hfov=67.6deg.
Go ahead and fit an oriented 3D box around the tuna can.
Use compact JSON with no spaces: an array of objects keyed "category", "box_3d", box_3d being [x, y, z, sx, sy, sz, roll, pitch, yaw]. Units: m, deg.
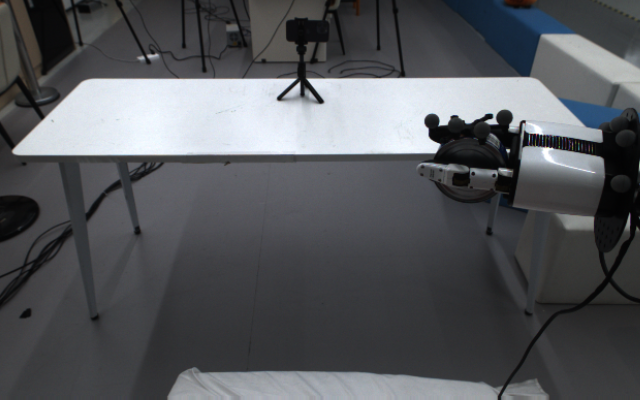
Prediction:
[{"category":"tuna can","box_3d":[0.181,-0.043,0.580,0.085,0.085,0.034,15,34,17]}]
